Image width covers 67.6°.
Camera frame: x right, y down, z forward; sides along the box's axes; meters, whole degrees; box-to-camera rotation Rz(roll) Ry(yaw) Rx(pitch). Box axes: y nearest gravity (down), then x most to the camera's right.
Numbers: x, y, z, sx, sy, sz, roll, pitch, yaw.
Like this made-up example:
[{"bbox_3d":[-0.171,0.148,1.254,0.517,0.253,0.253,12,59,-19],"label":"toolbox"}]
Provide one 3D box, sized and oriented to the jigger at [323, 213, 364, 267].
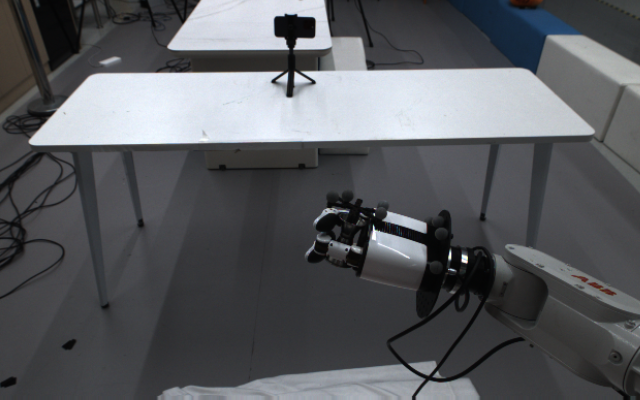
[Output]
[{"bbox_3d":[0.040,0.058,0.700,0.043,0.071,0.043,15,17,-5],"label":"jigger"}]
